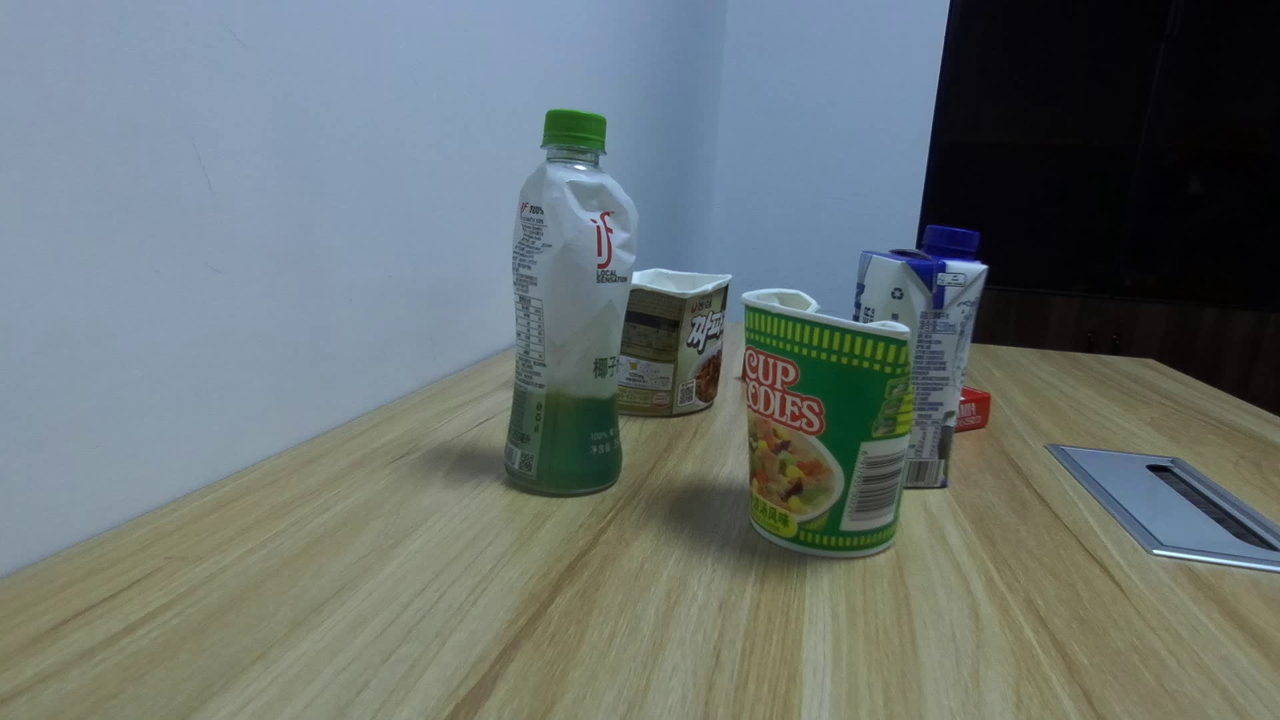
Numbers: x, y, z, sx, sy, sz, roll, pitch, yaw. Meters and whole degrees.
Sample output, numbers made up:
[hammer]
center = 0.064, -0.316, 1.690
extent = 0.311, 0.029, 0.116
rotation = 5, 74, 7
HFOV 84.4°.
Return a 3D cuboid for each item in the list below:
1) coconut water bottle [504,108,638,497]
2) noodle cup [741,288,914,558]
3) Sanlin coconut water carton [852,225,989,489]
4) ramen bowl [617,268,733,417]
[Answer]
[coconut water bottle]
center = -0.036, -0.029, 0.366
extent = 0.067, 0.187, 0.067
rotation = 4, 12, 0
[noodle cup]
center = 0.090, 0.028, 0.333
extent = 0.075, 0.122, 0.083
rotation = 0, 20, 21
[Sanlin coconut water carton]
center = 0.152, -0.003, 0.400
extent = 0.061, 0.144, 0.060
rotation = 0, 14, -10
[ramen bowl]
center = 0.017, -0.021, 0.542
extent = 0.113, 0.097, 0.134
rotation = 11, 16, 31
